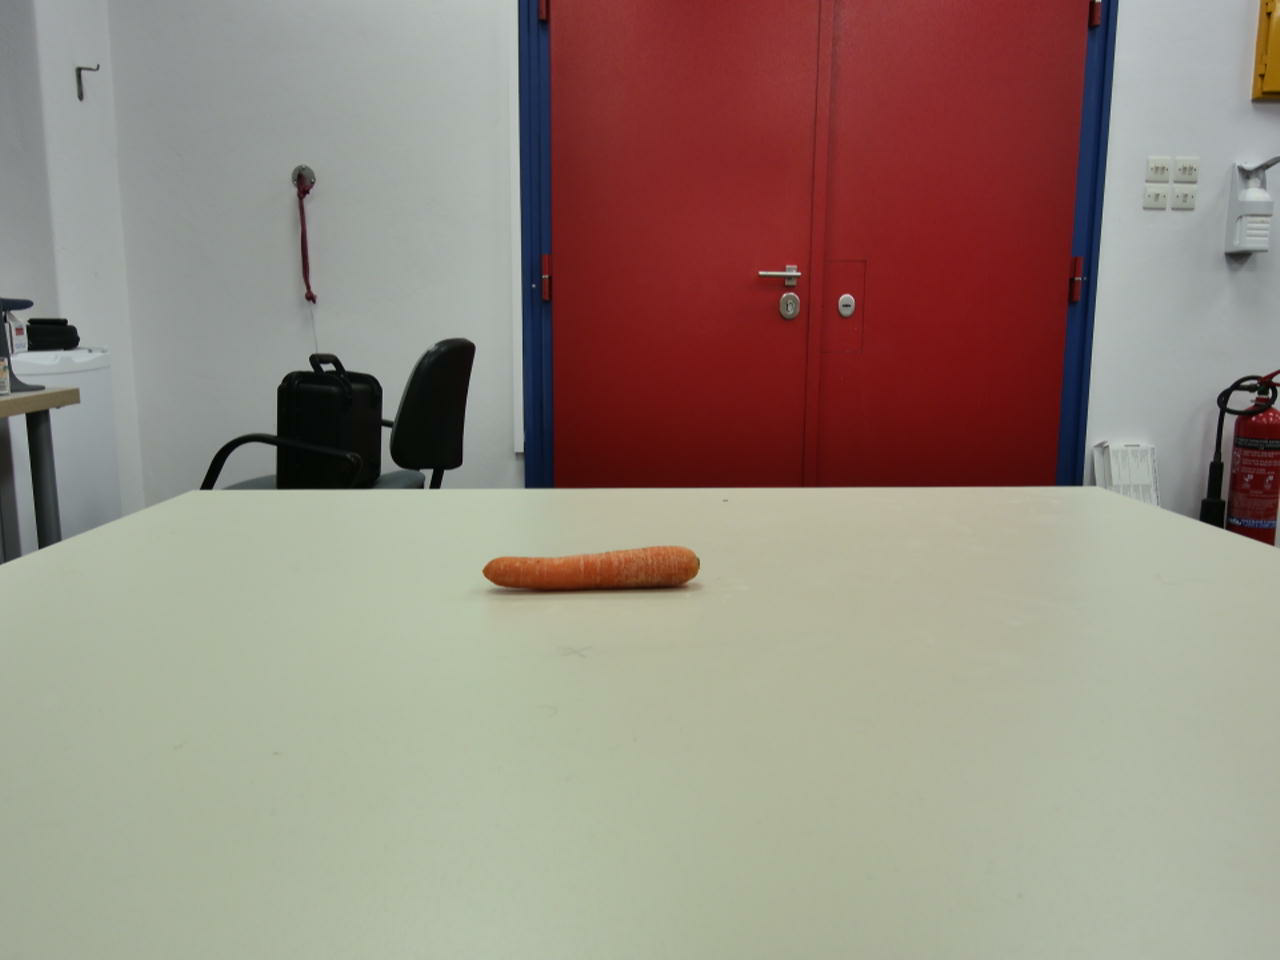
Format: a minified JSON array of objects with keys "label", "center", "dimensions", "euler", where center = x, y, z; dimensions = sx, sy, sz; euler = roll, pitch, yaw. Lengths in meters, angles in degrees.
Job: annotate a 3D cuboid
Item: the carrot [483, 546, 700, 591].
[{"label":"carrot","center":[-0.027,0.050,0.567],"dimensions":[0.122,0.023,0.024],"euler":[0,7,-4]}]
